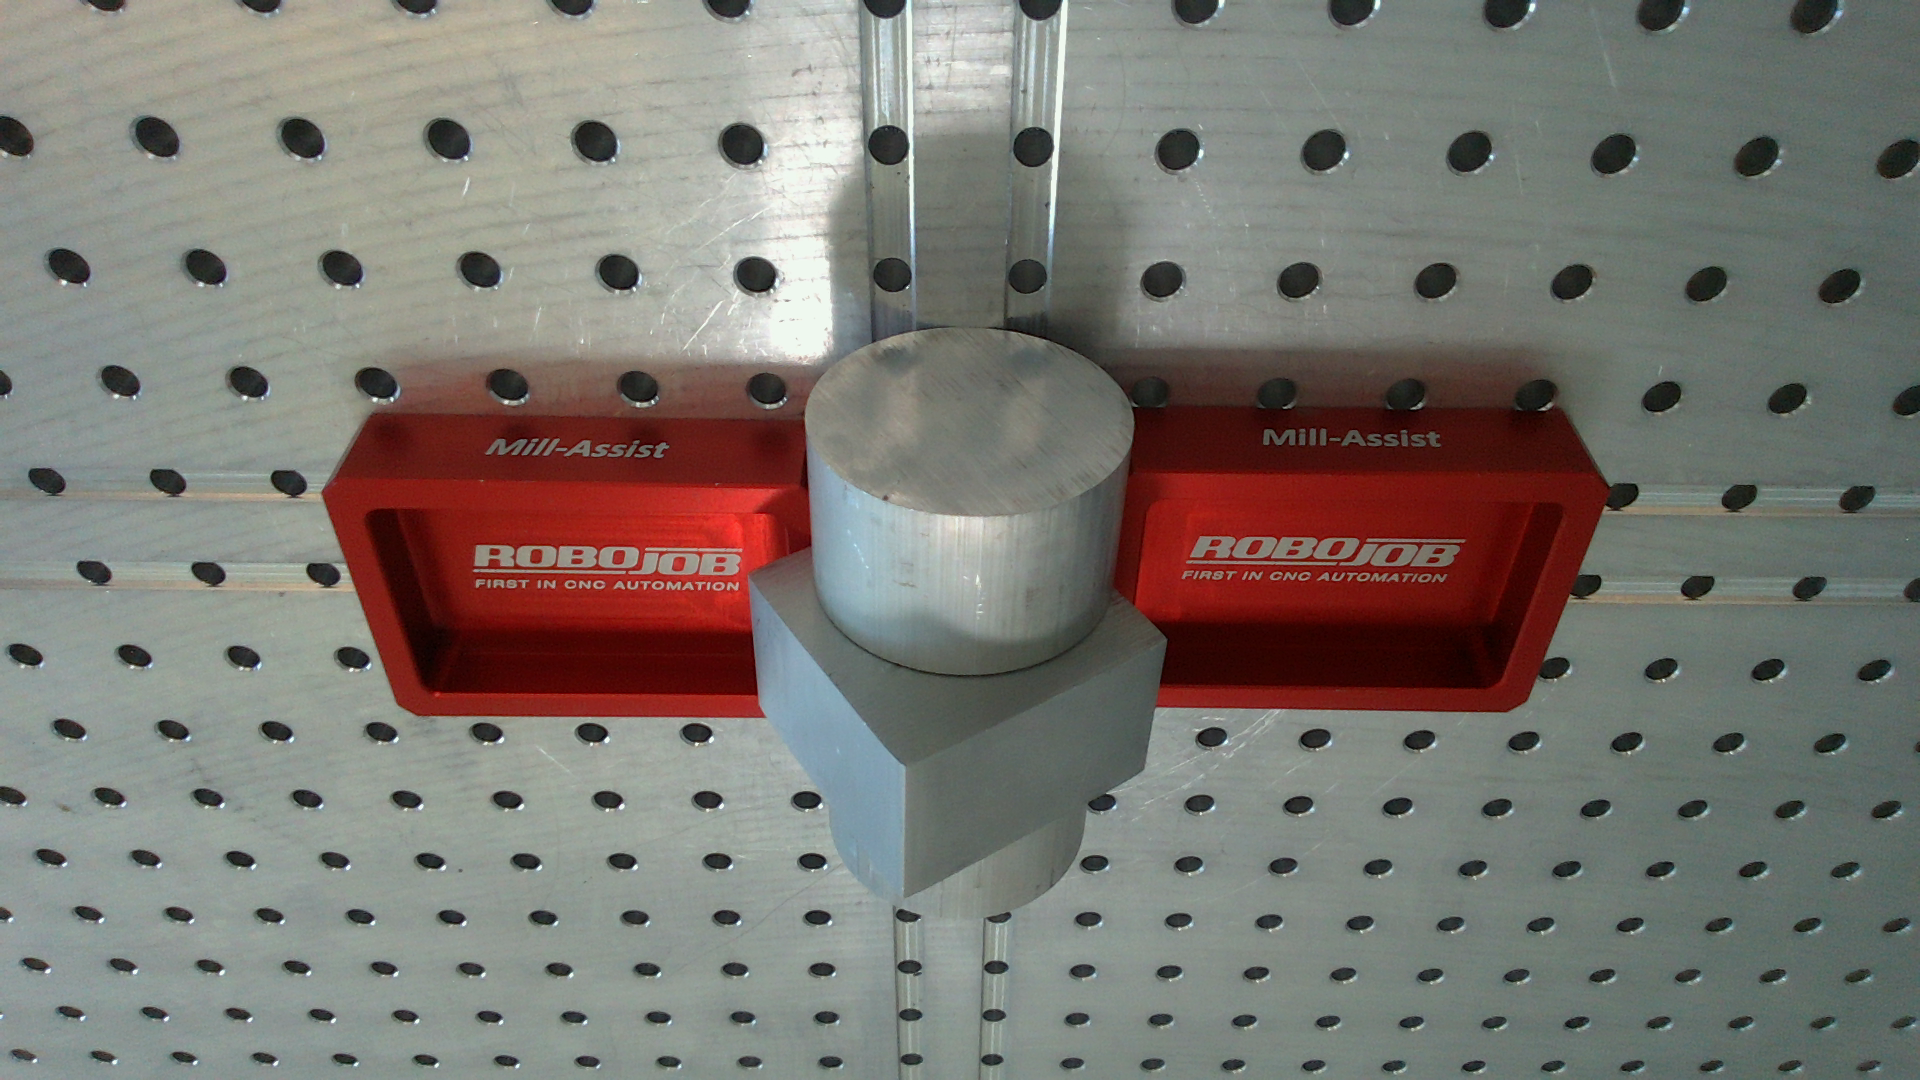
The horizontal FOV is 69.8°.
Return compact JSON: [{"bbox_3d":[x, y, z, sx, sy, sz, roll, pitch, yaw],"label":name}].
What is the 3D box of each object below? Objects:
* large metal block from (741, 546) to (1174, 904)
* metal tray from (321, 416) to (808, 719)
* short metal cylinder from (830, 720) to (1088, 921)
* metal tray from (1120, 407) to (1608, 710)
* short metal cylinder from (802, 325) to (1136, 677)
[{"bbox_3d":[-0.003,0.036,0.369,0.080,0.080,0.050,-22,136,-27],"label":"large metal block"},{"bbox_3d":[-0.103,0.010,0.398,0.130,0.030,0.090,1,130,-1],"label":"metal tray"},{"bbox_3d":[0.000,0.065,0.412,0.080,0.080,0.050,1,130,-1],"label":"short metal cylinder"},{"bbox_3d":[0.105,0.007,0.397,0.130,0.030,0.090,1,130,-1],"label":"metal tray"},{"bbox_3d":[0.002,-0.012,0.347,0.080,0.080,0.050,1,130,-1],"label":"short metal cylinder"}]
